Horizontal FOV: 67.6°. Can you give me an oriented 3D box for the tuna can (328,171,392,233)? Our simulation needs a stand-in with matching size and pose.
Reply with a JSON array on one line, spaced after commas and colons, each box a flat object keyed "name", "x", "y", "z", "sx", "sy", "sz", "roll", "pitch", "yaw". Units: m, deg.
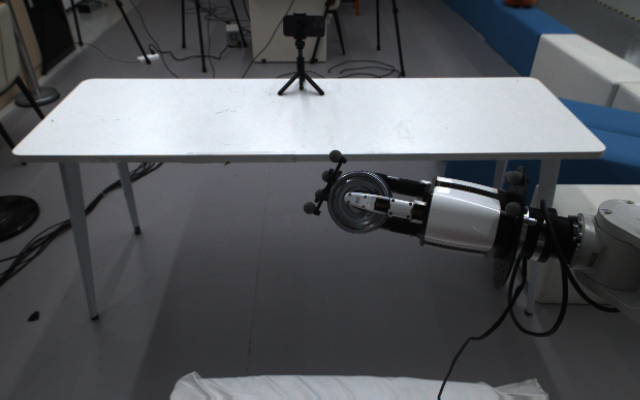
[{"name": "tuna can", "x": 0.056, "y": 0.001, "z": 0.655, "sx": 0.085, "sy": 0.085, "sz": 0.034, "roll": 10, "pitch": 4, "yaw": 11}]
